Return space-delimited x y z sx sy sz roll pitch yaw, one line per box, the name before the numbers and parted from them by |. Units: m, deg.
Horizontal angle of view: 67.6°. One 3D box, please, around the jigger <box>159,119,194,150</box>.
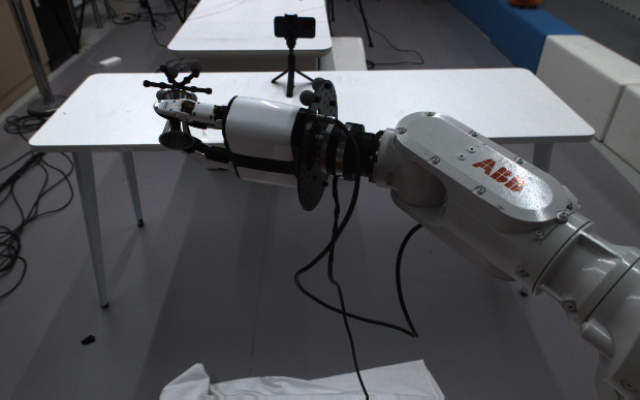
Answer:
jigger | -0.188 -0.105 0.633 0.043 0.043 0.071 -3 66 -7
